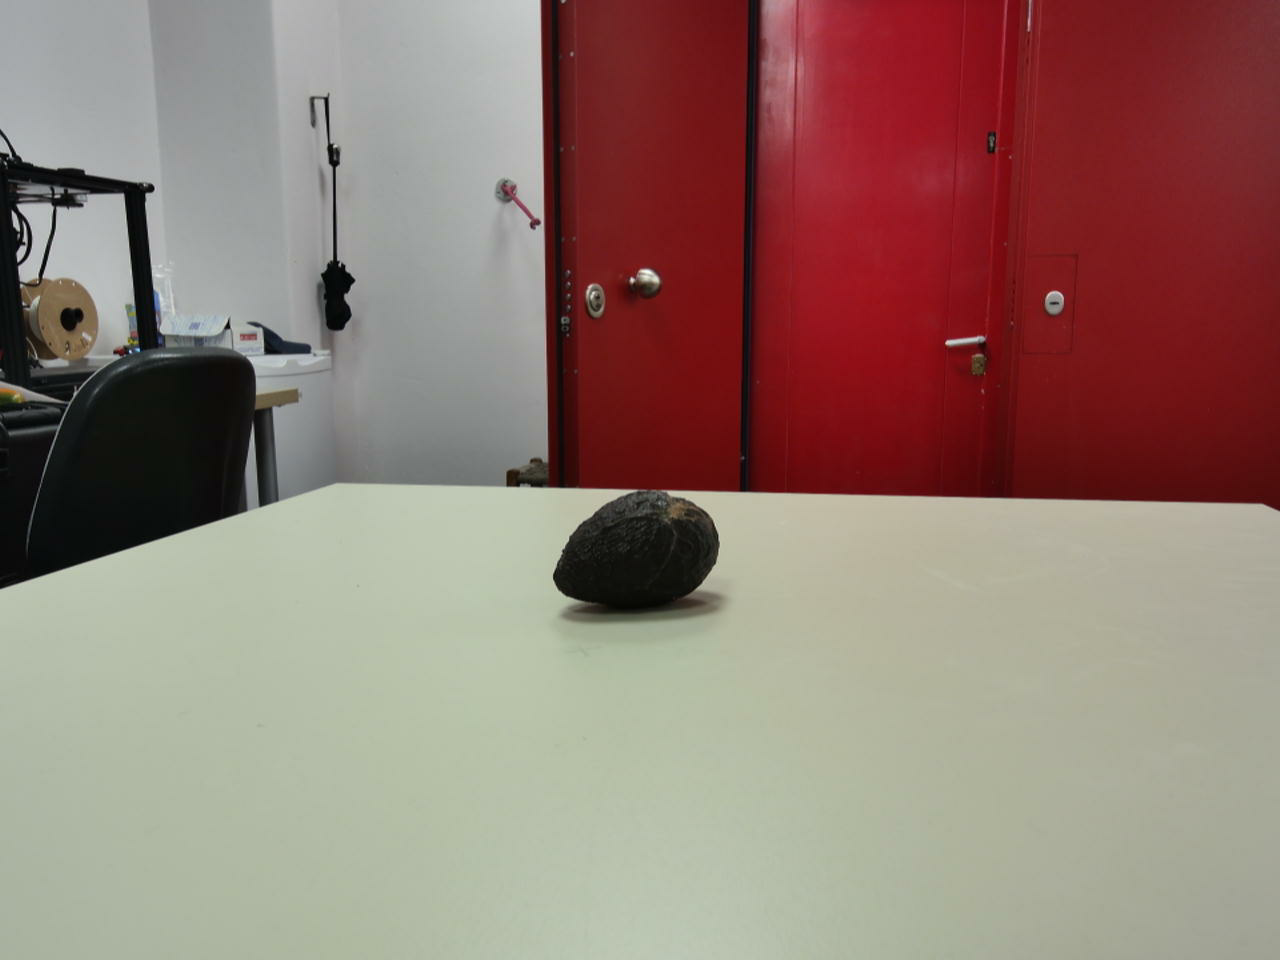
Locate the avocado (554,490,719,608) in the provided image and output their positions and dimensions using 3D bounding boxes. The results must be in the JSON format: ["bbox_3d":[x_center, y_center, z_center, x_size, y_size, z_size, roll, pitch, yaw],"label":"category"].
[{"bbox_3d":[-0.002,0.037,0.540,0.092,0.062,0.062,-1,7,-12],"label":"avocado"}]
